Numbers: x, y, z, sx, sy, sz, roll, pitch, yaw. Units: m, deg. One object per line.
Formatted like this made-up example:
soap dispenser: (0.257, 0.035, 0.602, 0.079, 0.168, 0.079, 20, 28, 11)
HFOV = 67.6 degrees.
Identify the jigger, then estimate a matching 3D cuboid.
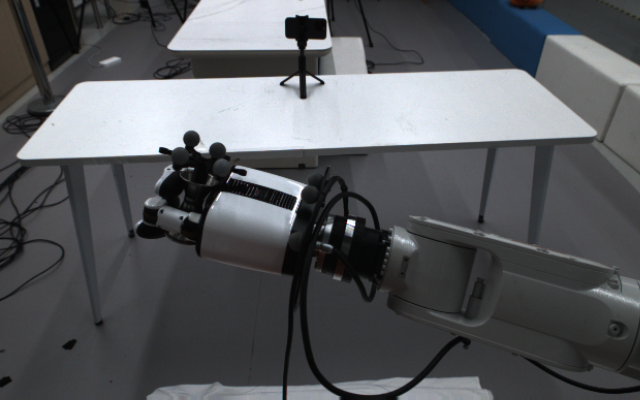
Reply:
jigger: (-0.132, 0.008, 0.510, 0.043, 0.071, 0.043, 18, 17, -6)
